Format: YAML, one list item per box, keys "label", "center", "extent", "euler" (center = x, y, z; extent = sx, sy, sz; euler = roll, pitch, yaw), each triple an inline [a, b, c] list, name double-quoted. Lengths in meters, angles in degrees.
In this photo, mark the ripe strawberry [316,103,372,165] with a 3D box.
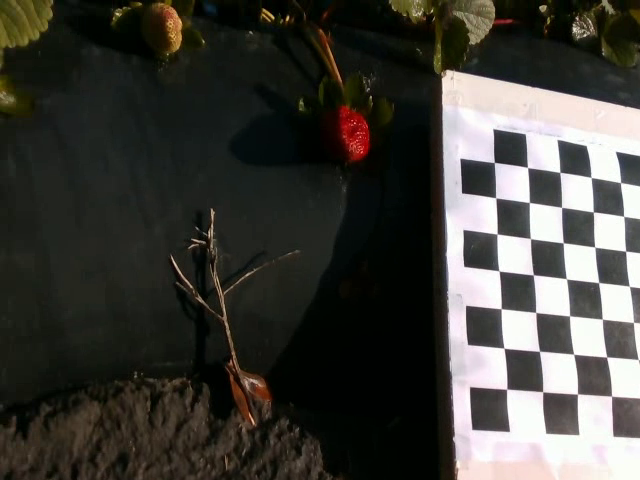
- label: "ripe strawberry"
  center: [0.007, -0.024, 0.159]
  extent: [0.015, 0.015, 0.023]
  euler: [15, 20, -15]
